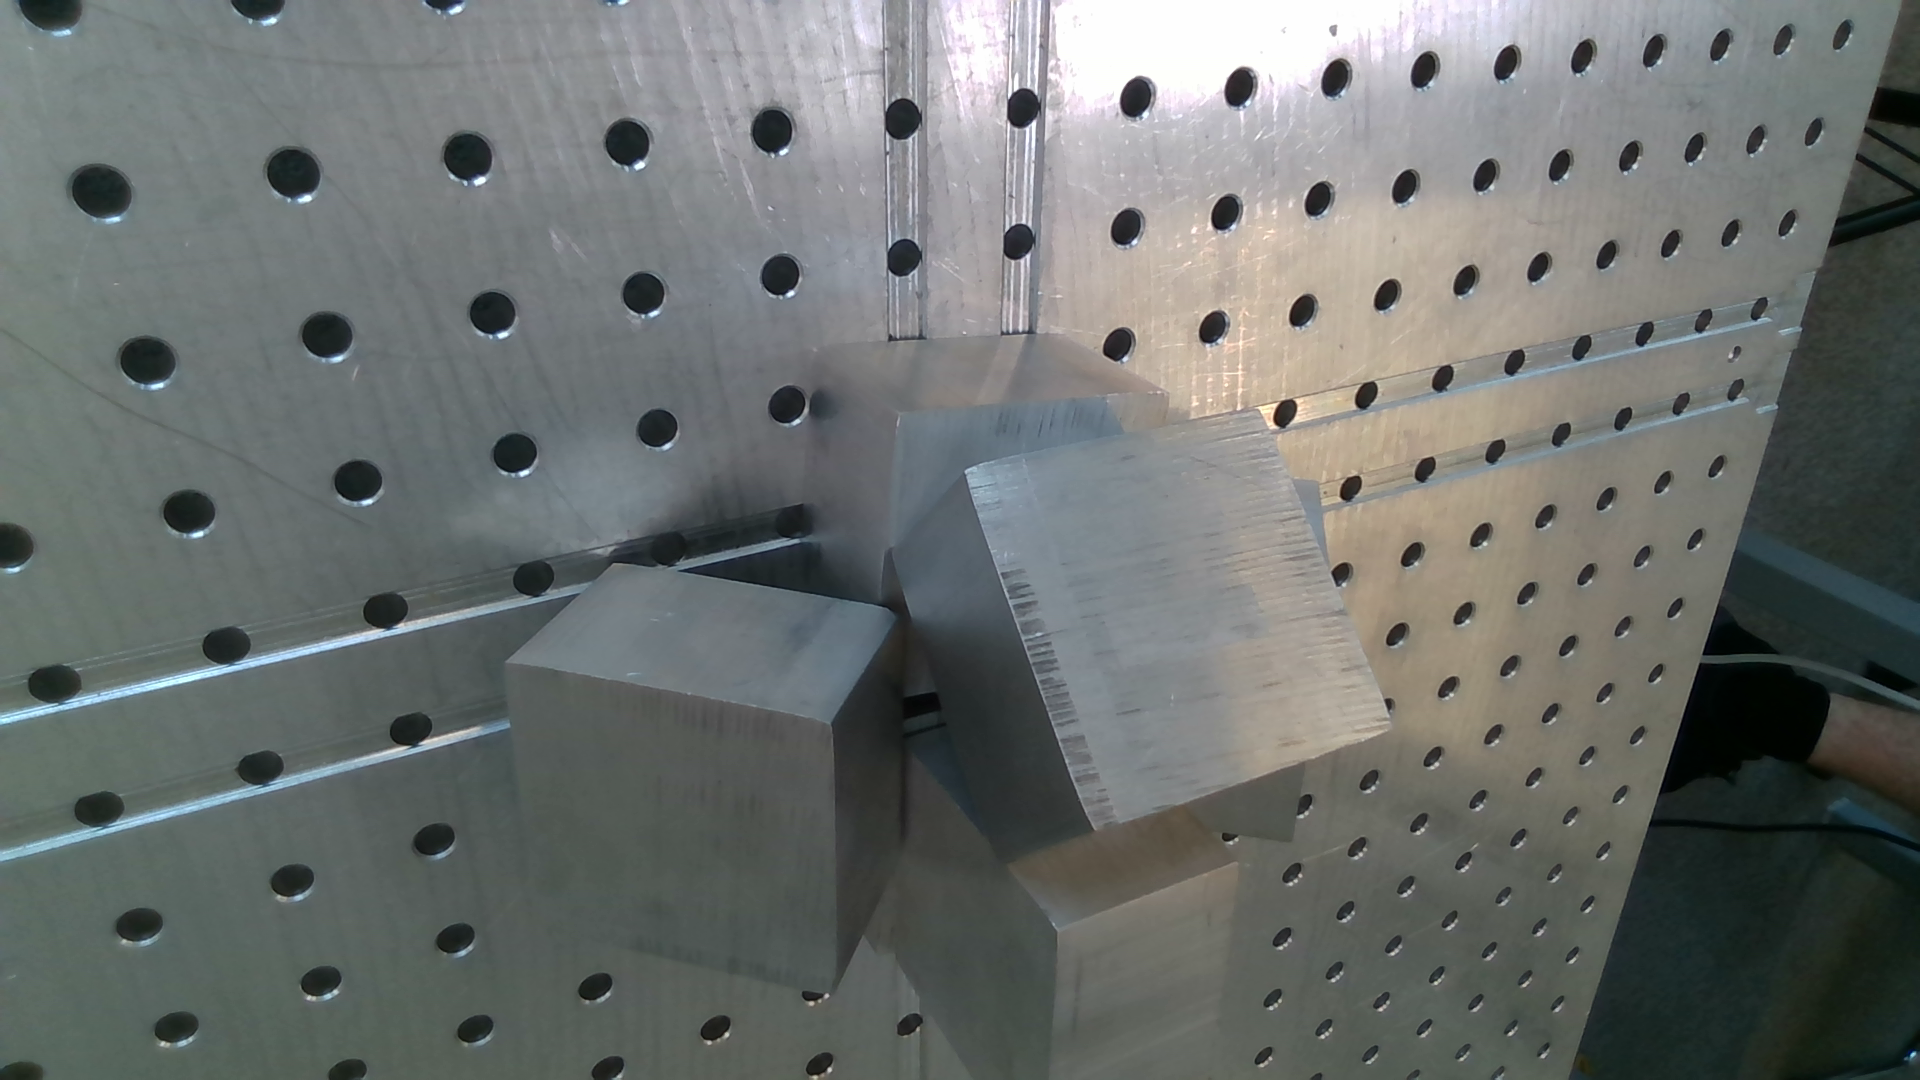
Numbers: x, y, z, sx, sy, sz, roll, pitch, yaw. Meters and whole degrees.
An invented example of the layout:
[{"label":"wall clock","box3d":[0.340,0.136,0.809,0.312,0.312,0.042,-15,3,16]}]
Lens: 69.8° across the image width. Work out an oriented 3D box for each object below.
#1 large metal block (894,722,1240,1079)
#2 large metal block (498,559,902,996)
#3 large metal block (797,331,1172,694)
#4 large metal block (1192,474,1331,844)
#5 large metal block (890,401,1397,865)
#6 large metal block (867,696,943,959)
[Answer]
[{"label":"large metal block","box3d":[0.023,0.098,0.359,0.050,0.080,0.080,-13,121,-26]},{"label":"large metal block","box3d":[-0.061,0.057,0.343,0.080,0.050,0.080,9,118,13]},{"label":"large metal block","box3d":[0.004,-0.009,0.374,0.080,0.050,0.080,-8,119,-28]},{"label":"large metal block","box3d":[0.078,0.031,0.412,0.050,0.080,0.080,6,118,8]},{"label":"large metal block","box3d":[0.040,0.021,0.317,0.080,0.050,0.080,-13,76,-25]},{"label":"large metal block","box3d":[0.001,0.066,0.412,0.080,0.050,0.080,-12,120,-26]}]
